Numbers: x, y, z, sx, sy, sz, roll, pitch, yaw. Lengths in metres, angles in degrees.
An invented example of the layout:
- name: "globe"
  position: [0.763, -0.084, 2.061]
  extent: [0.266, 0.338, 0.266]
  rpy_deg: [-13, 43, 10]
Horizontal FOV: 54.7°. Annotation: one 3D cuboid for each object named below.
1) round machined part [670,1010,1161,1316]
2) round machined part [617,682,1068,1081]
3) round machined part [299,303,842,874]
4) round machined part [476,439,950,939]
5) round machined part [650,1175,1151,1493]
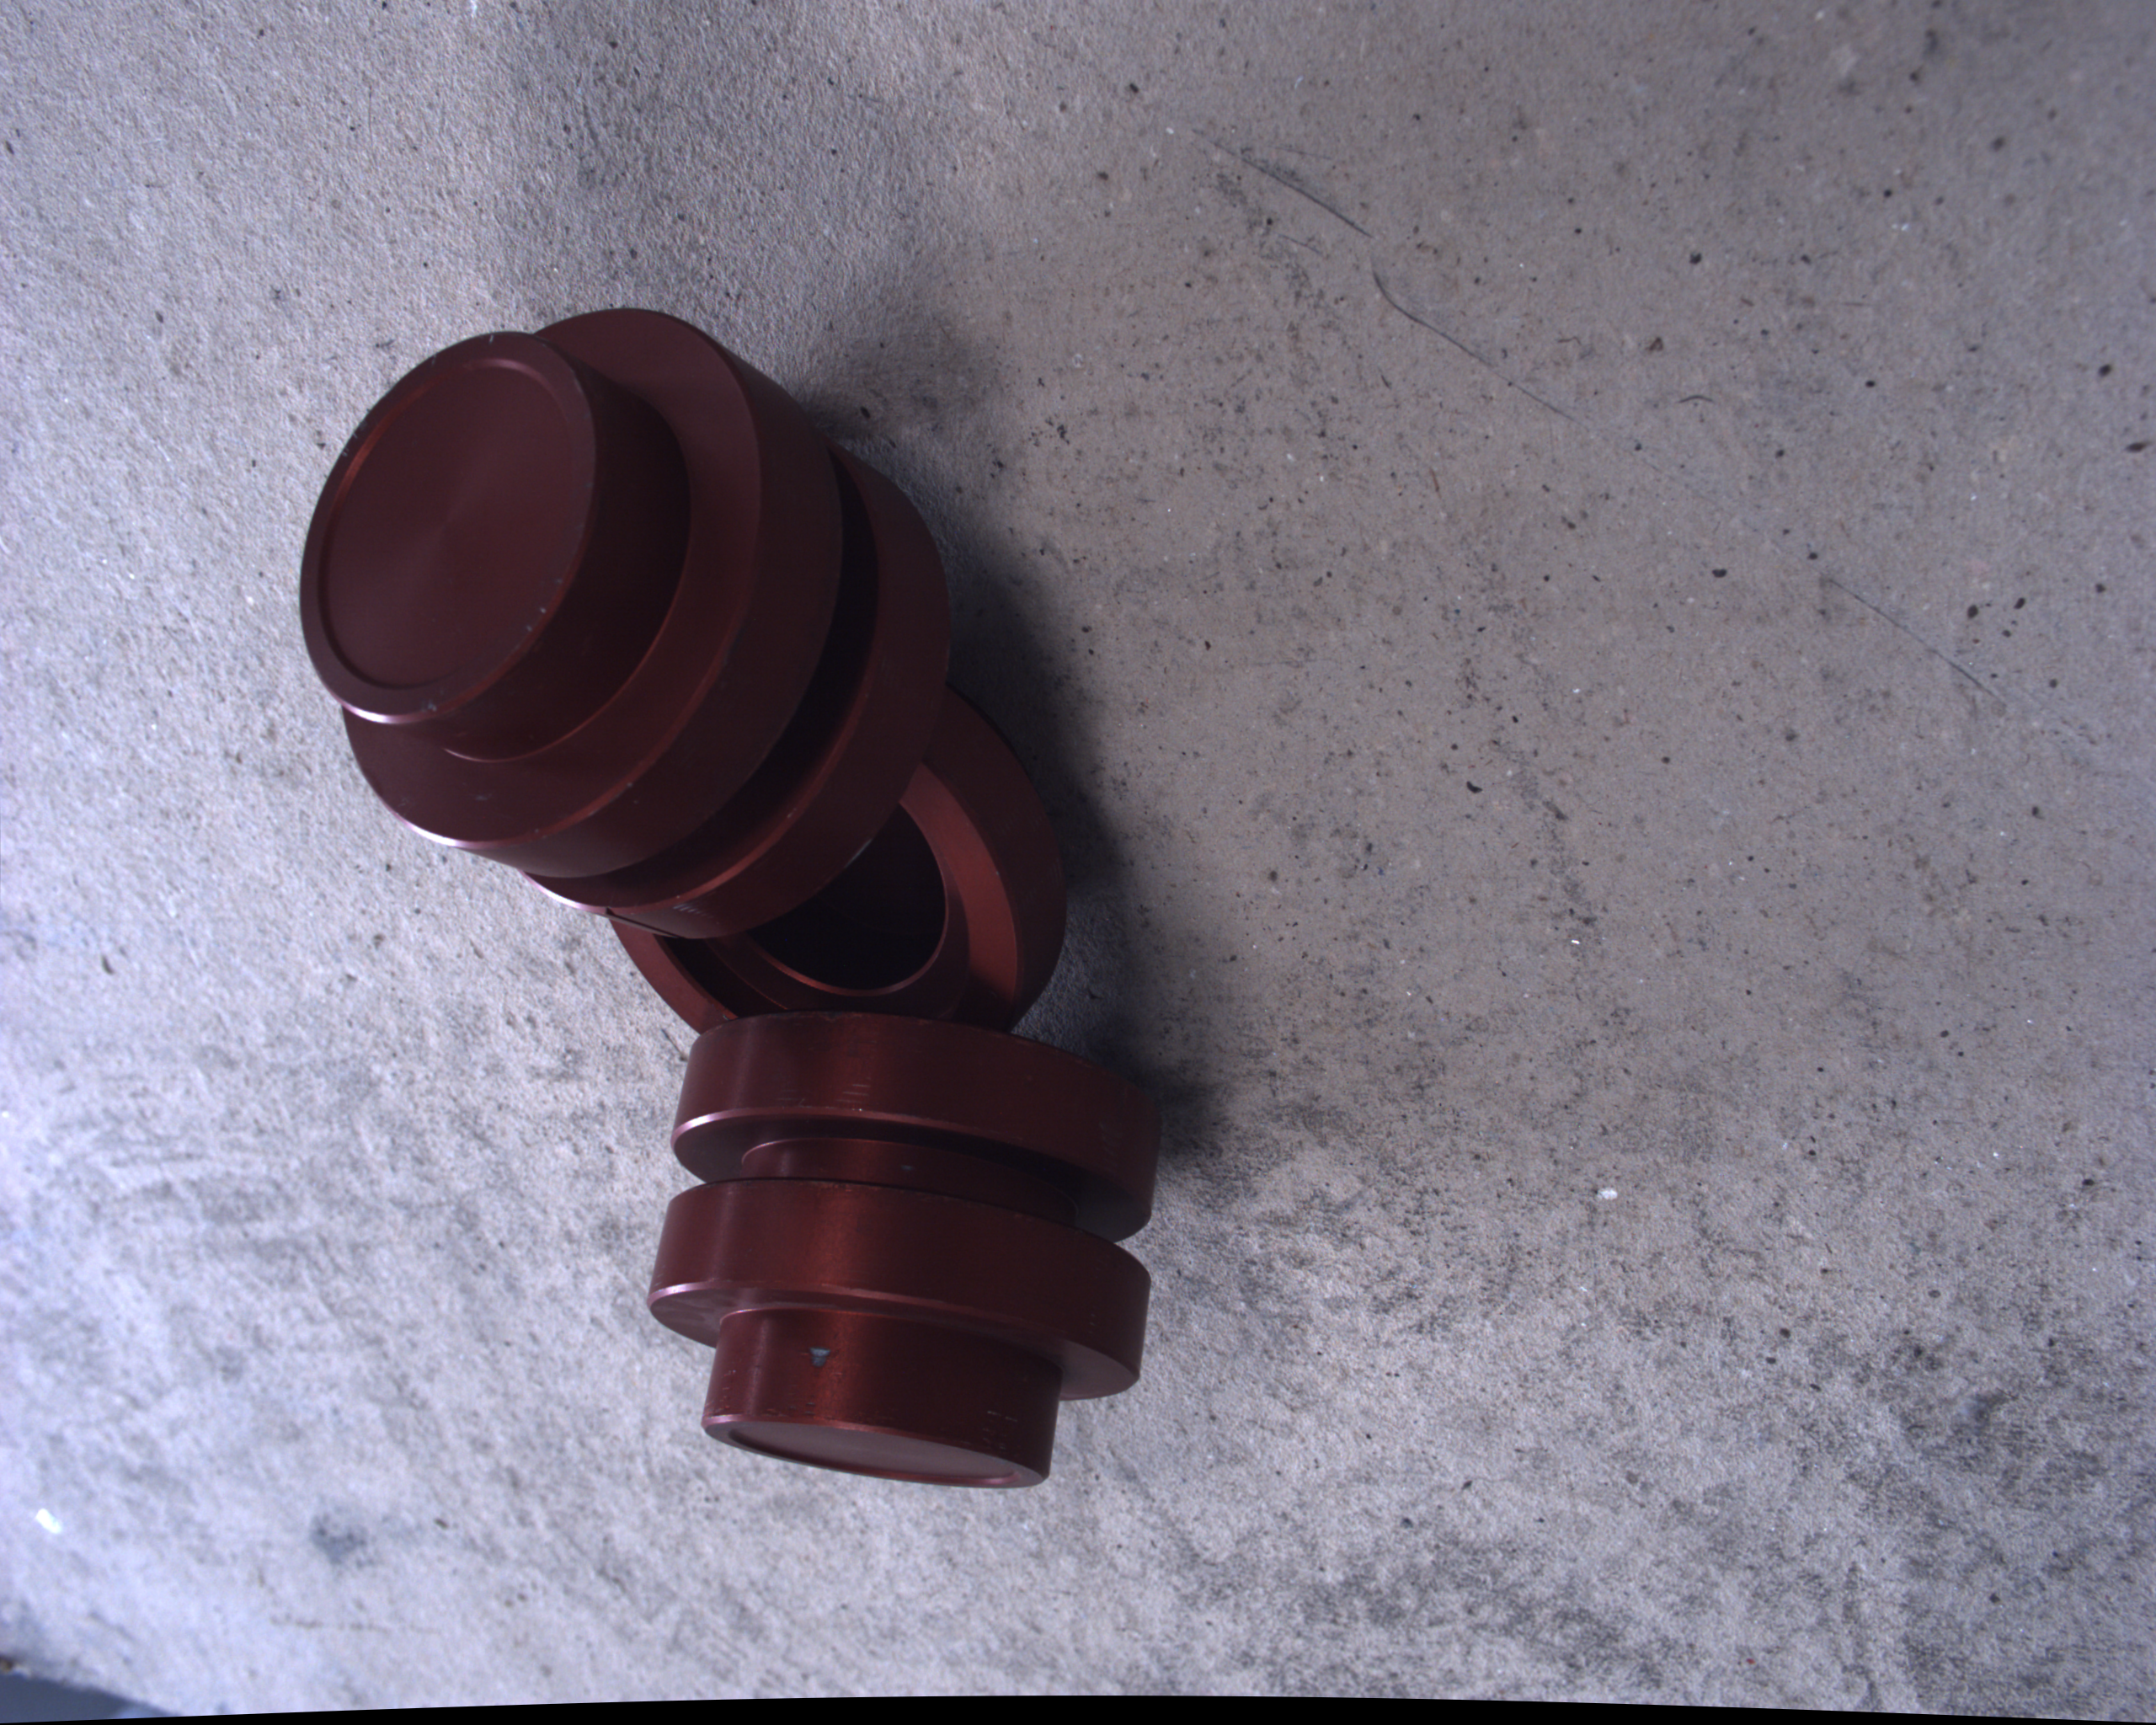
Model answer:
- name: "round machined part"
  position: [-0.034, 0.067, 0.425]
  extent: [0.099, 0.042, 0.098]
  rpy_deg: [7, 156, 3]
- name: "round machined part"
  position: [-0.046, -0.004, 0.421]
  extent: [0.098, 0.042, 0.097]
  rpy_deg: [13, 124, 21]
- name: "round machined part"
  position: [-0.092, -0.050, 0.353]
  extent: [0.098, 0.042, 0.098]
  rpy_deg: [-10, 71, 29]
- name: "round machined part"
  position: [-0.075, -0.038, 0.378]
  extent: [0.098, 0.042, 0.098]
  rpy_deg: [-10, 71, 29]
- name: "round machined part"
  position: [-0.037, 0.097, 0.415]
  extent: [0.099, 0.042, 0.098]
  rpy_deg: [7, 155, 4]
